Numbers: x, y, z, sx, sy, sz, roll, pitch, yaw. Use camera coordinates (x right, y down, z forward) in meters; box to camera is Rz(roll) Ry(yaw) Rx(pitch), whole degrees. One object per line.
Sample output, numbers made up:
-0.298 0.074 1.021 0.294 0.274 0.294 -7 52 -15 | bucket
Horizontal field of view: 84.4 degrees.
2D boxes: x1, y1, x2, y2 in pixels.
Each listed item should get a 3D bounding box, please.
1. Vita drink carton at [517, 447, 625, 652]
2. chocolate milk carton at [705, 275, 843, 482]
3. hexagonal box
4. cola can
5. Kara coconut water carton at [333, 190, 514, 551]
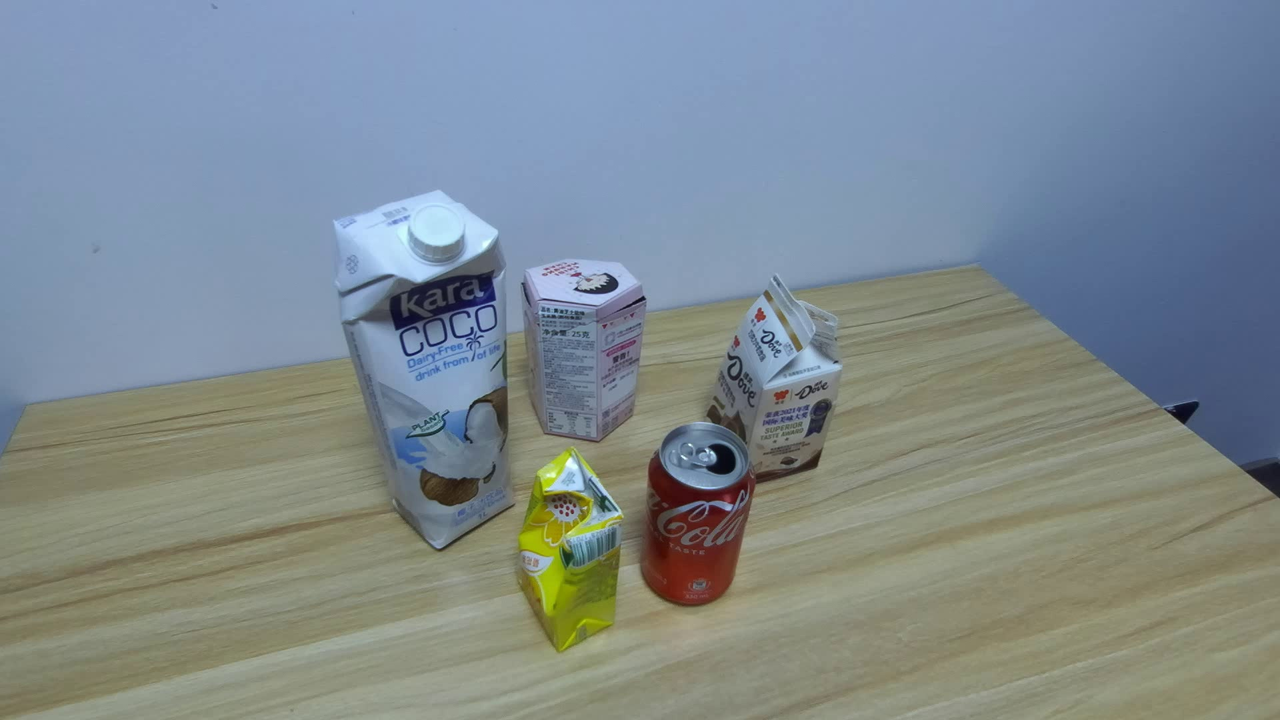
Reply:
-0.048 0.119 0.441 0.046 0.110 0.071 -18 43 -28 | Vita drink carton
0.103 0.012 0.541 0.073 0.155 0.084 -11 40 -17 | chocolate milk carton
-0.046 -0.010 0.574 0.084 0.135 0.092 30 46 30 | hexagonal box
0.036 0.100 0.458 0.068 0.120 0.067 2 40 -2 | cola can
-0.130 0.009 0.460 0.071 0.244 0.100 33 48 31 | Kara coconut water carton
